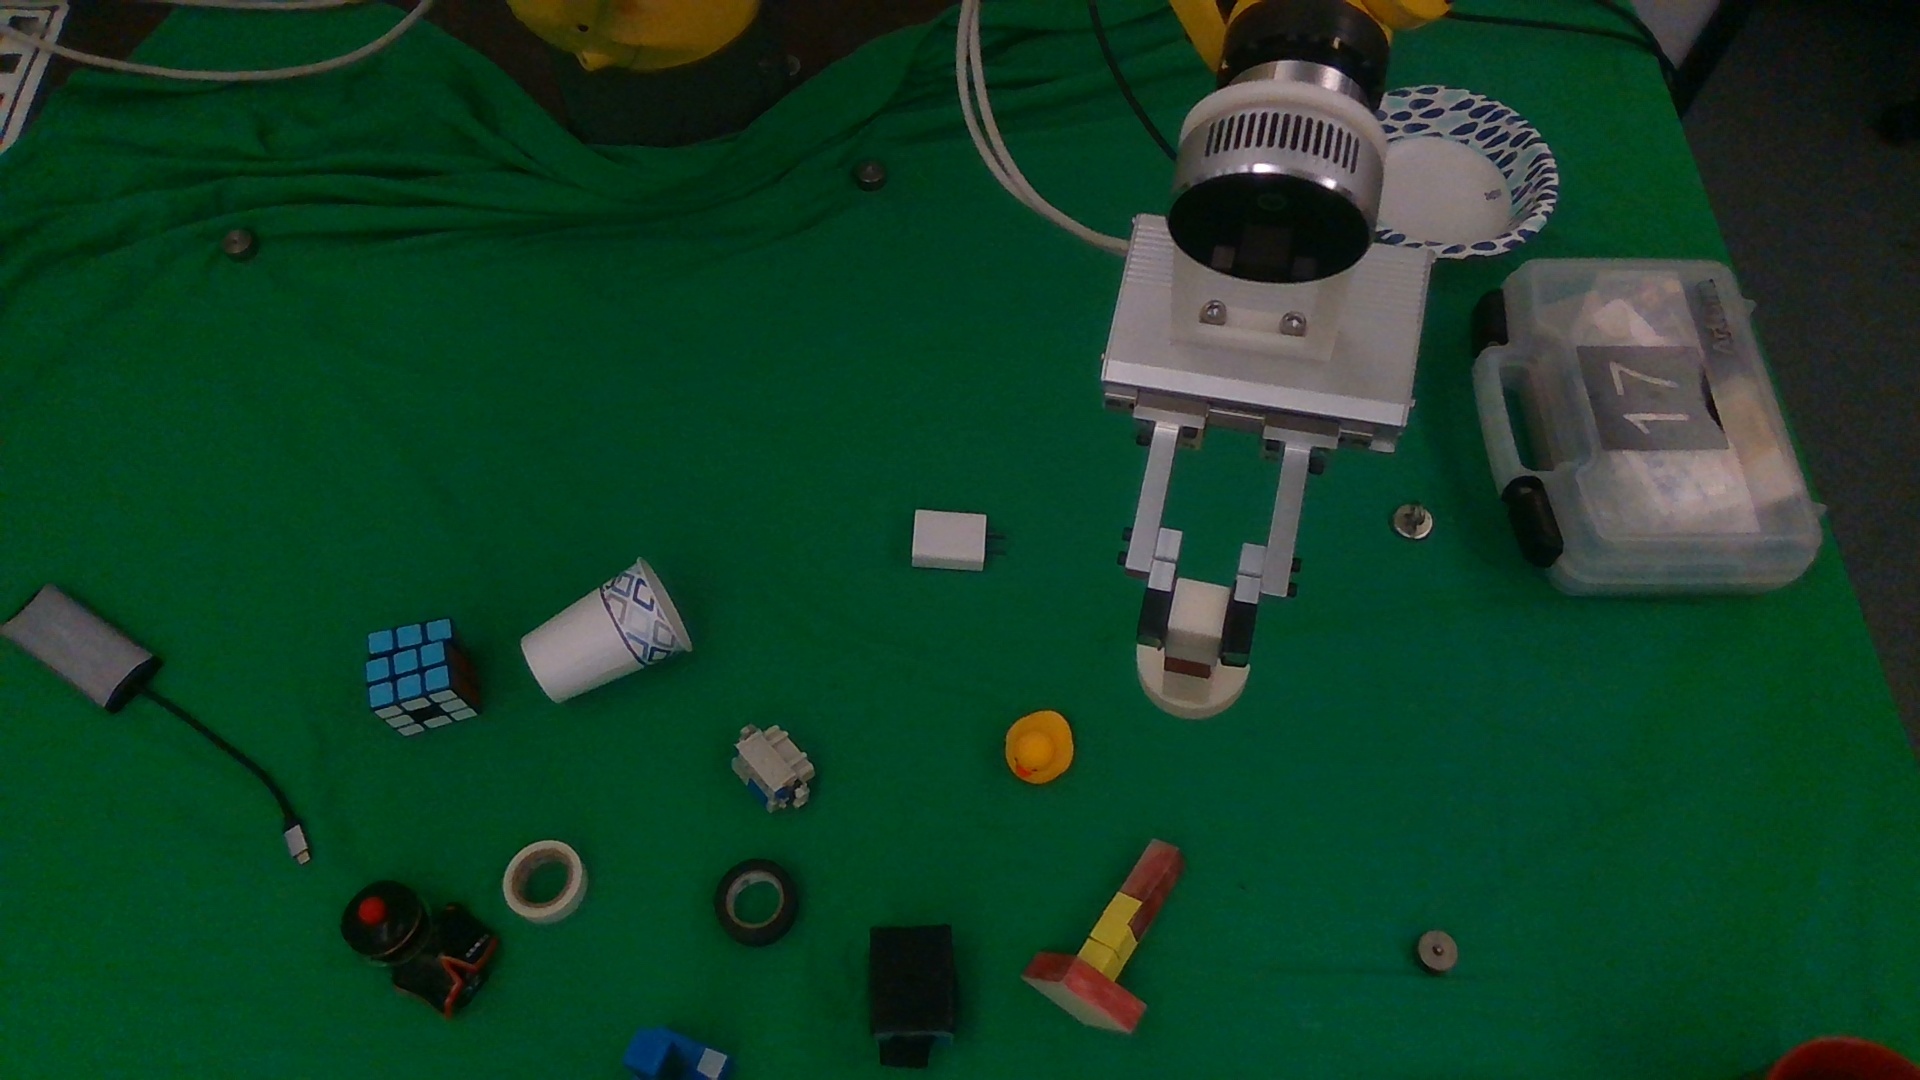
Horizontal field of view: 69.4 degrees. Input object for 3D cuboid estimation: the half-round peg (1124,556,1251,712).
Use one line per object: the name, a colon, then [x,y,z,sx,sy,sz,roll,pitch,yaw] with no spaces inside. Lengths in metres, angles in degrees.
half-round peg: [0.095,0.039,0.562,0.054,0.122,0.031,10,68,9]

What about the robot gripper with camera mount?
robot gripper with camera mount: [0.101,-0.063,0.464,0.119,0.193,0.158,13,71,11]
